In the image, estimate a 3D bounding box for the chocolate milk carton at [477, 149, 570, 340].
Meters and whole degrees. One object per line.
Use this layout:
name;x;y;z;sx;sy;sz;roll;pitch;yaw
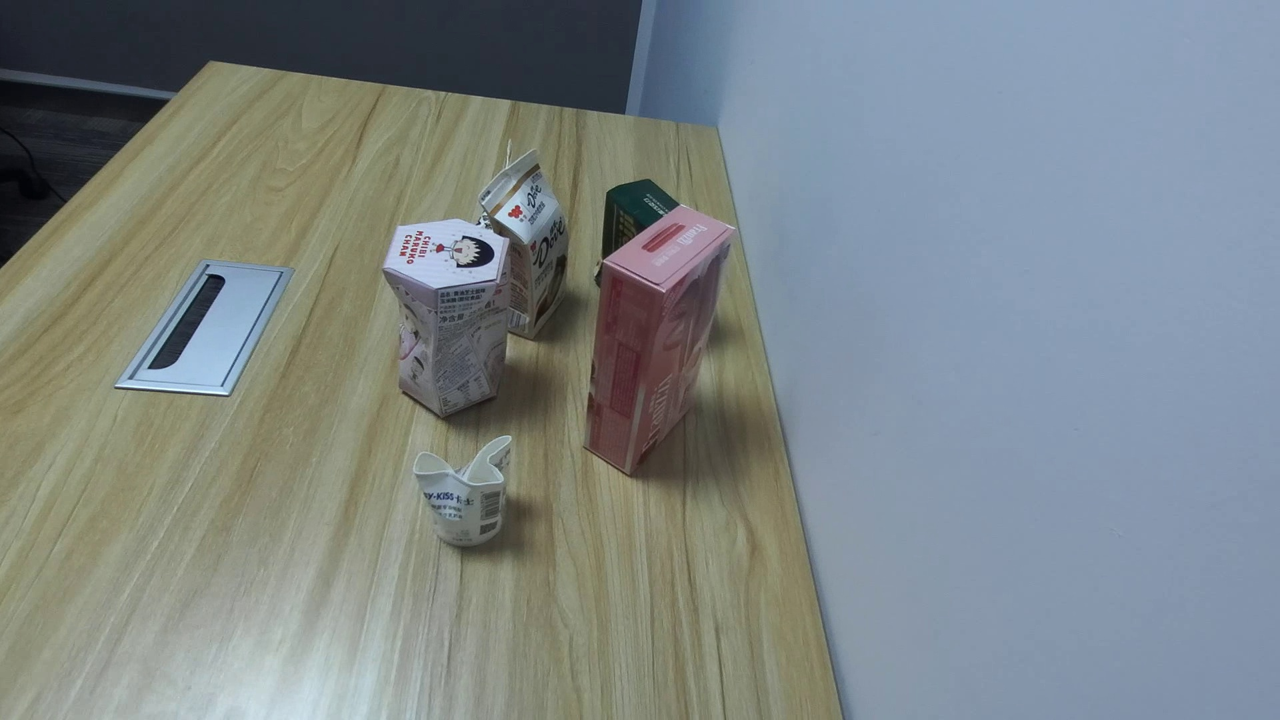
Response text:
chocolate milk carton;-0.107;-0.106;0.616;0.073;0.155;0.076;19;44;9

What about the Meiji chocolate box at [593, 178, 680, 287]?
Meiji chocolate box;0.014;-0.092;0.654;0.059;0.116;0.122;-22;53;-28

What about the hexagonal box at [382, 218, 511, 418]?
hexagonal box;-0.147;-0.034;0.551;0.093;0.134;0.088;-23;54;-30

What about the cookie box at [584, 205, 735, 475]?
cookie box;0.011;-0.009;0.520;0.048;0.184;0.096;28;47;19

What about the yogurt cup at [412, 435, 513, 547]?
yogurt cup;-0.117;0.087;0.479;0.055;0.072;0.055;12;47;2
